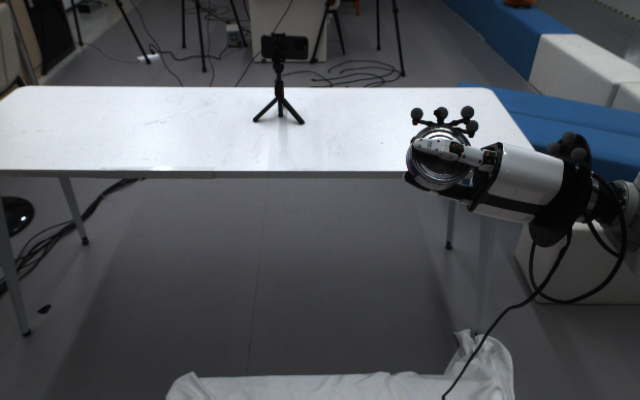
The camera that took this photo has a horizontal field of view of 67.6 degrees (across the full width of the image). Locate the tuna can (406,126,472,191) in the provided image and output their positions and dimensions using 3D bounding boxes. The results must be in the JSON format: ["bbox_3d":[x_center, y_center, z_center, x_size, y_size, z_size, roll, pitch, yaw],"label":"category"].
[{"bbox_3d":[0.164,-0.062,0.664,0.085,0.034,0.085,1,72,-3],"label":"tuna can"}]
